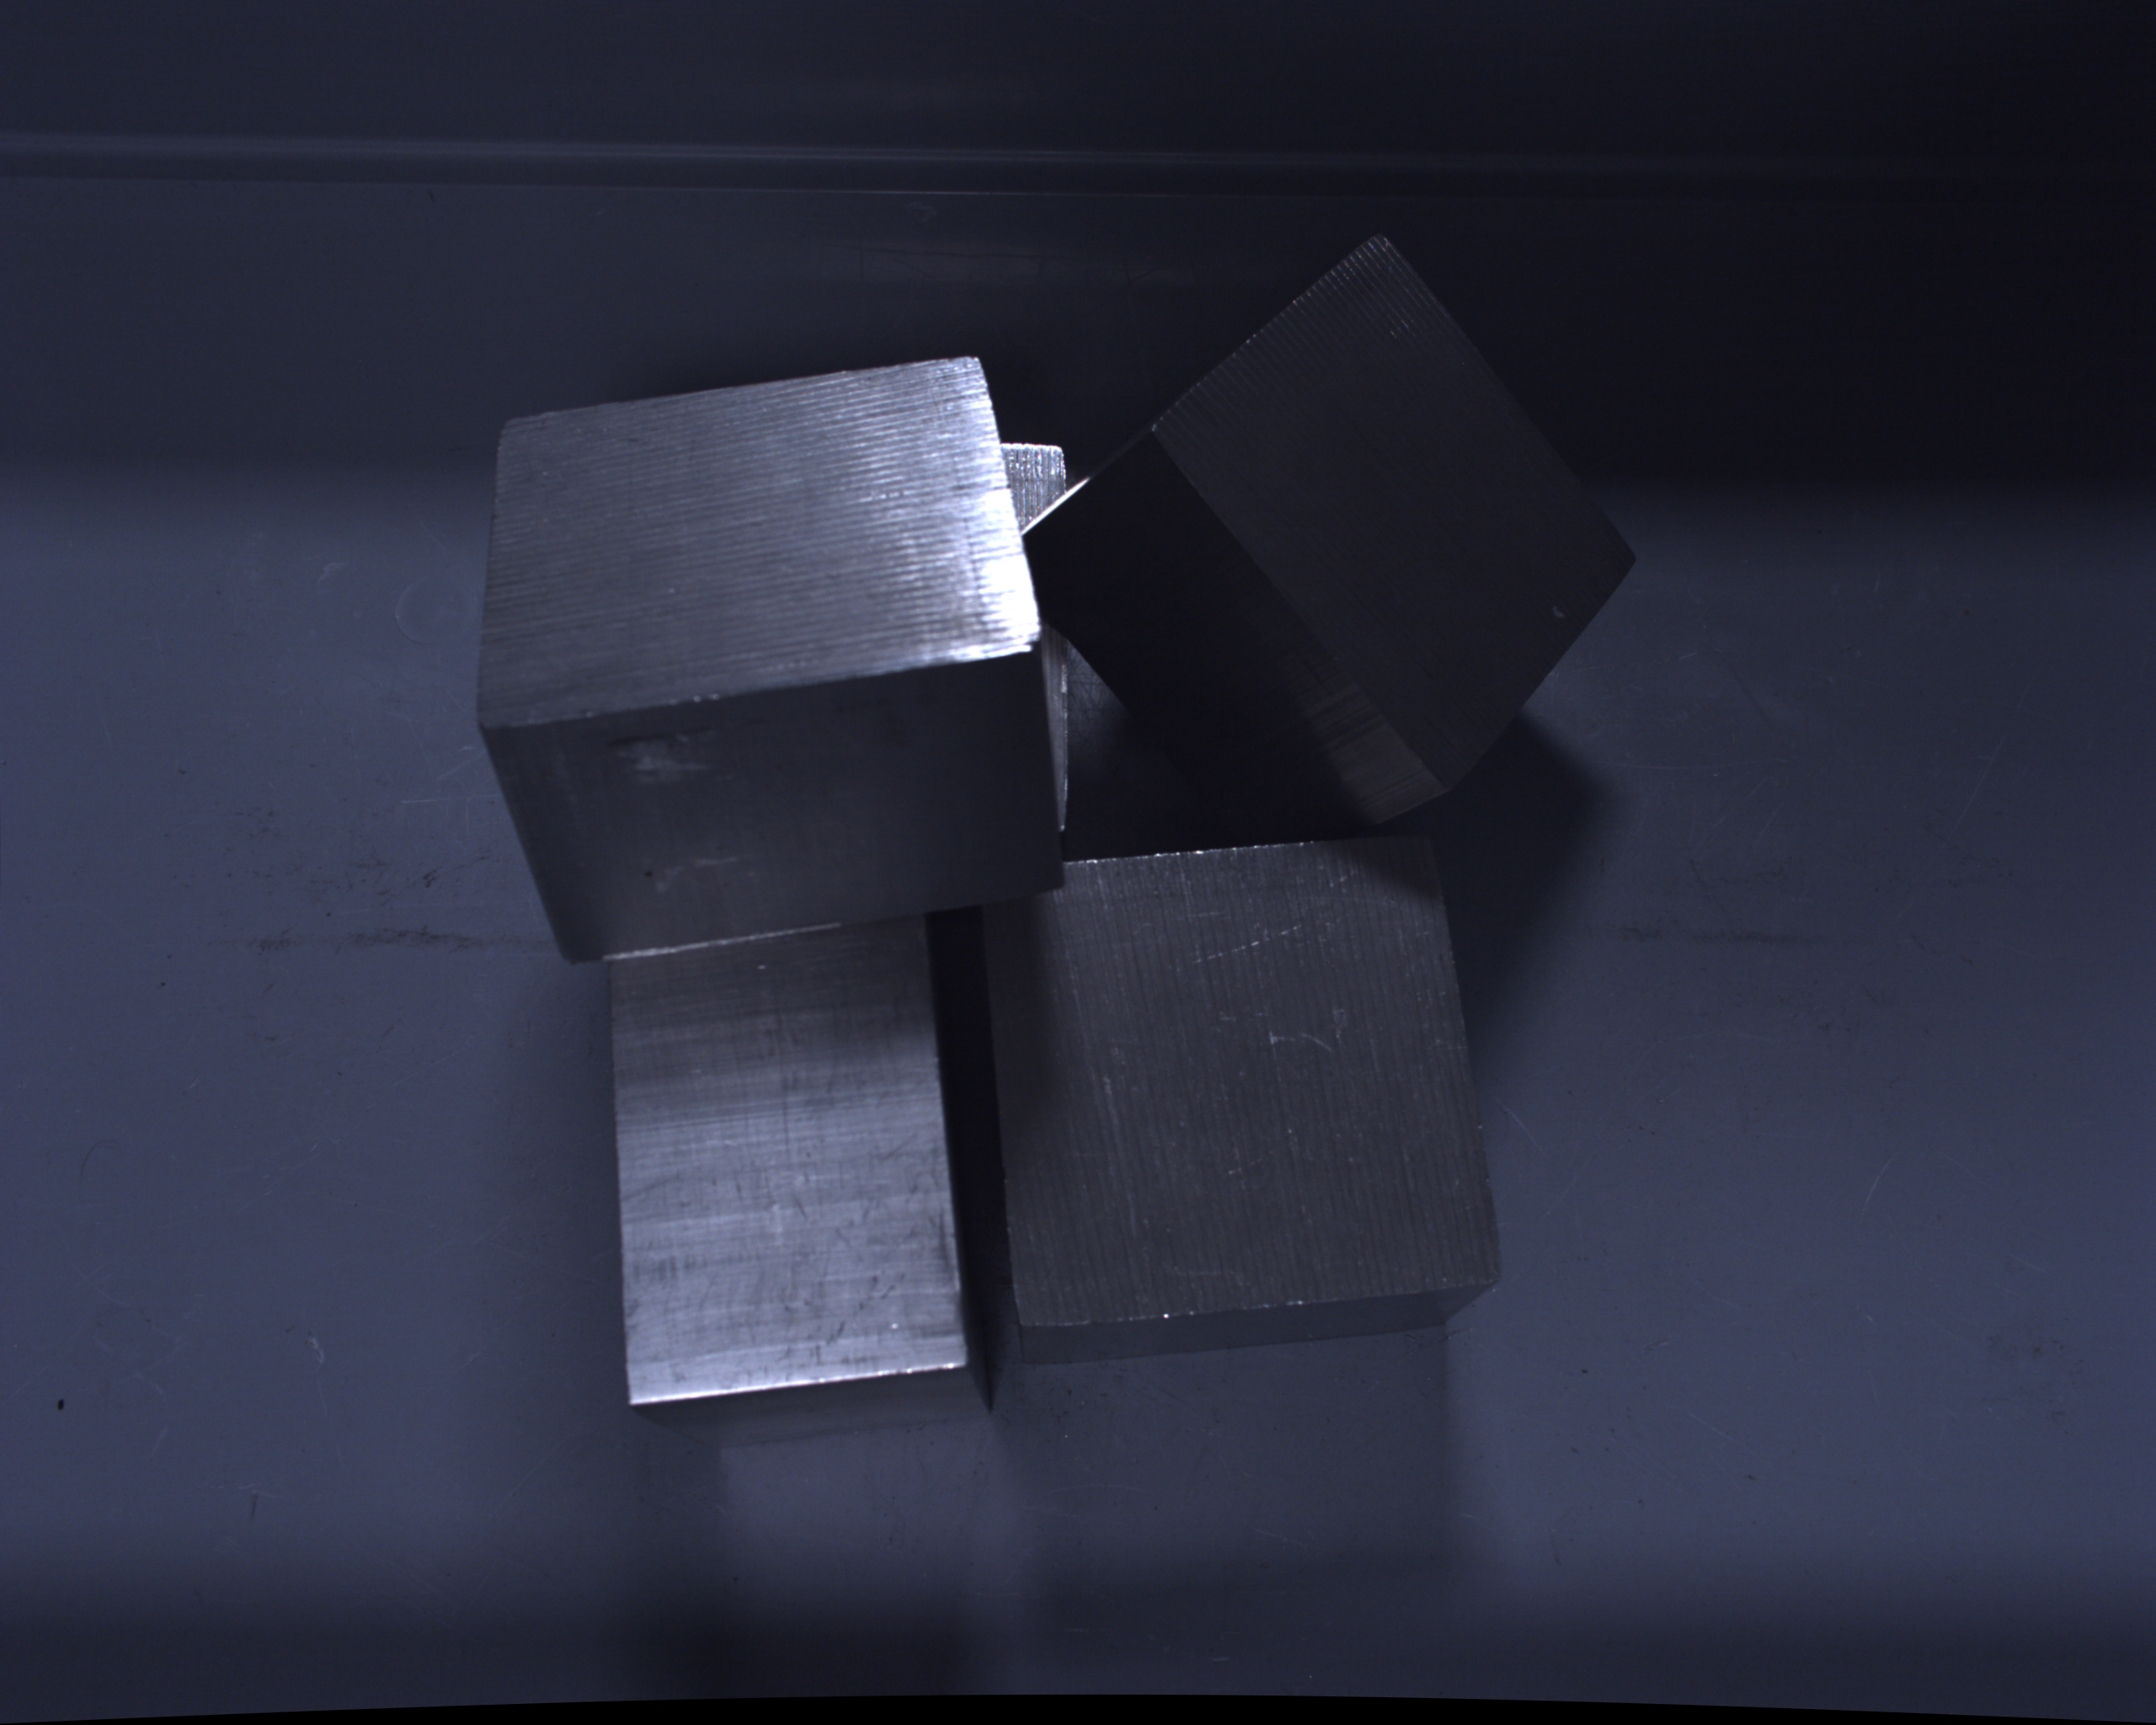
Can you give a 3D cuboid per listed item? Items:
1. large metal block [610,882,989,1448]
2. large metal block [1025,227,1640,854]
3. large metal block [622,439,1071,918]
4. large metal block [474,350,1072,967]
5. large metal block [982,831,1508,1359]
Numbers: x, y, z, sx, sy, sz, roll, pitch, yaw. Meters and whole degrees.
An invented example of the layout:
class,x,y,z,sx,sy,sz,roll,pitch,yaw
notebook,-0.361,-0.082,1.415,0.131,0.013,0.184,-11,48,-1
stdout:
class,x,y,z,sx,sy,sz,roll,pitch,yaw
large metal block,-0.046,0.054,0.359,0.050,0.080,0.080,-6,70,-3
large metal block,0.046,-0.057,0.389,0.080,0.050,0.080,50,54,-8
large metal block,-0.042,-0.034,0.407,0.081,0.050,0.080,-1,70,-1
large metal block,-0.048,-0.035,0.338,0.081,0.050,0.080,-9,45,-3
large metal block,0.026,0.044,0.377,0.081,0.050,0.080,-5,70,-2
